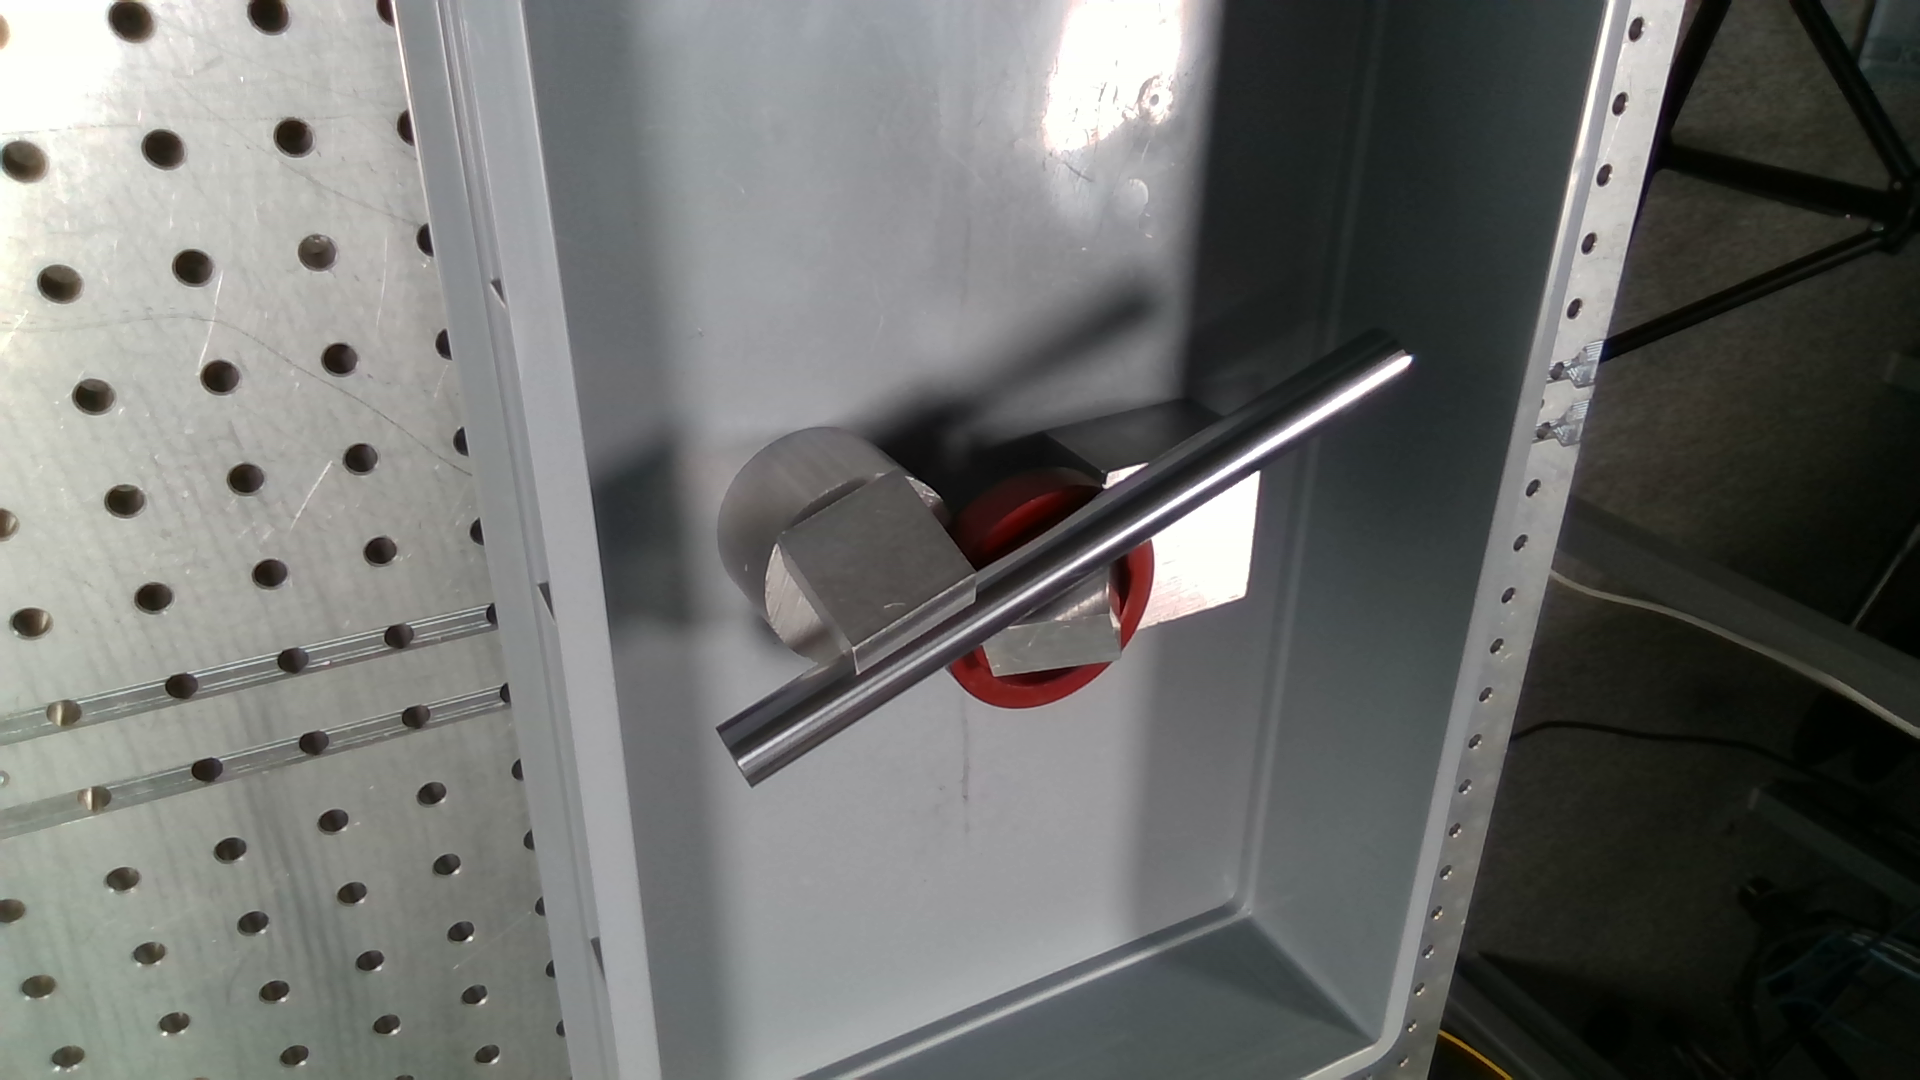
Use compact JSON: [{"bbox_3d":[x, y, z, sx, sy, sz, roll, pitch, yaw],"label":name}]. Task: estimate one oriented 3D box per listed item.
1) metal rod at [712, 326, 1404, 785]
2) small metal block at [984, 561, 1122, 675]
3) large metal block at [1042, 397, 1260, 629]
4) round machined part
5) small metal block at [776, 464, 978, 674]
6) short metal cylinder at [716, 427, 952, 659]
[{"bbox_3d":[0.045,0.000,0.517,0.300,0.025,0.025,-31,127,-14],"label":"metal rod"},{"bbox_3d":[0.036,0.023,0.535,0.050,0.050,0.025,-9,130,13],"label":"small metal block"},{"bbox_3d":[0.082,-0.010,0.607,0.080,0.050,0.080,-15,122,-25],"label":"large metal block"},{"bbox_3d":[0.027,0.016,0.556,0.098,0.042,0.098,-14,122,-25],"label":"round machined part"},{"bbox_3d":[-0.029,0.010,0.484,0.050,0.050,0.025,-32,160,-15],"label":"small metal block"},{"bbox_3d":[-0.048,0.001,0.535,0.080,0.050,0.080,-14,122,-25],"label":"short metal cylinder"}]
